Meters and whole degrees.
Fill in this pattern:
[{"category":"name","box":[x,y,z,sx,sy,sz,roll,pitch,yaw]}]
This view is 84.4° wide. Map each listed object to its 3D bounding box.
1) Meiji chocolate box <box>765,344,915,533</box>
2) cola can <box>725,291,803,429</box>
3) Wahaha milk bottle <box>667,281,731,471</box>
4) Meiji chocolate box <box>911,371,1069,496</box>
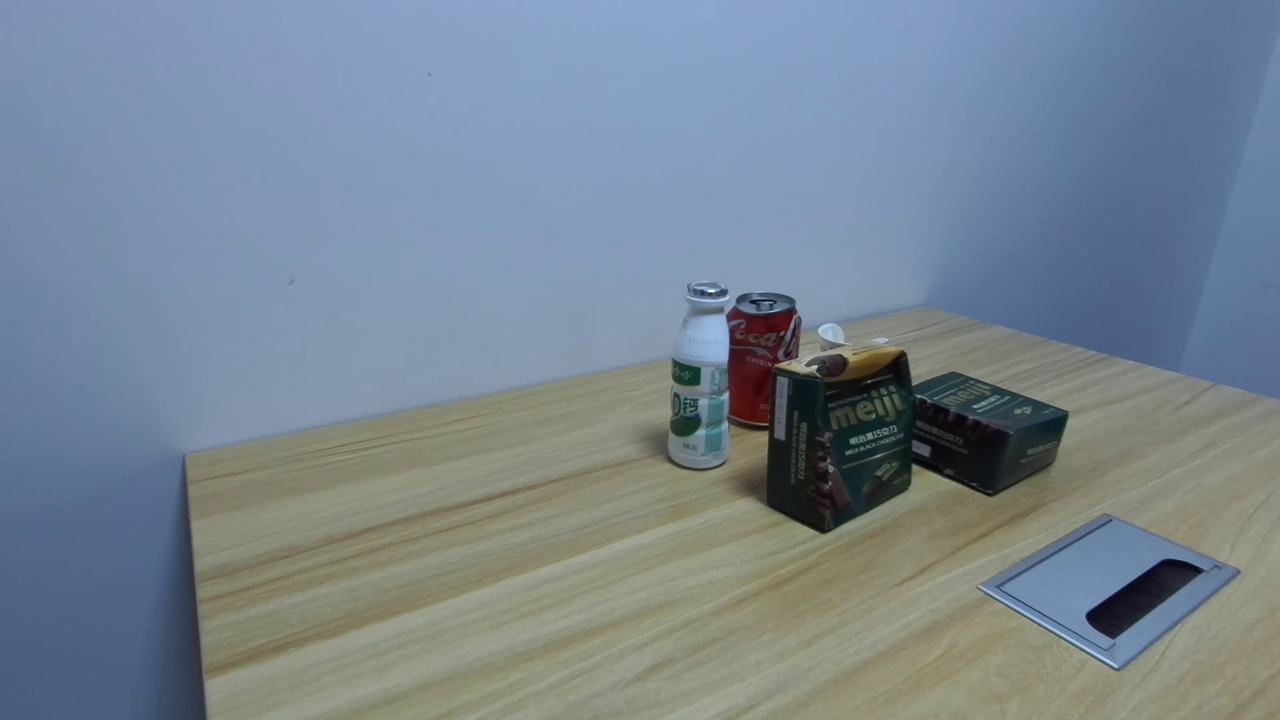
[{"category":"Meiji chocolate box","box":[0.149,0.050,0.516,0.118,0.117,0.051,-13,16,-37]},{"category":"cola can","box":[0.114,-0.001,0.646,0.066,0.117,0.072,-19,28,-40]},{"category":"Wahaha milk bottle","box":[0.051,0.013,0.559,0.056,0.147,0.056,2,17,0]},{"category":"Meiji chocolate box","box":[0.281,0.058,0.599,0.116,0.058,0.122,-10,23,-37]}]
